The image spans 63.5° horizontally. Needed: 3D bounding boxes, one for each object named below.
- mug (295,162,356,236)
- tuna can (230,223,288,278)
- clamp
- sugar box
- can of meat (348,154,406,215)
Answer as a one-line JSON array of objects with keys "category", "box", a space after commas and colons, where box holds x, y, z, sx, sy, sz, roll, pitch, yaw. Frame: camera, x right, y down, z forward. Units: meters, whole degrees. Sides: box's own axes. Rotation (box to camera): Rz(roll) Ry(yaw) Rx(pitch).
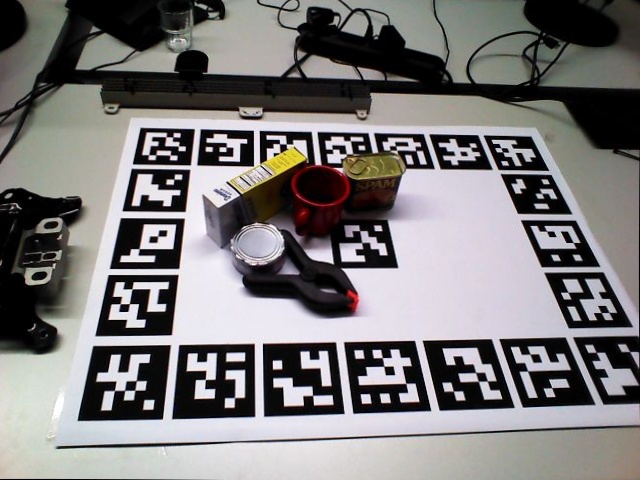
[{"category": "mug", "box": [0.001, -0.055, 0.807, 0.093, 0.082, 0.116, 20, 54, 8]}, {"category": "tuna can", "box": [-0.091, 0.018, 0.772, 0.086, 0.034, 0.085, 3, 53, -4]}, {"category": "clamp", "box": [-0.010, 0.064, 0.751, 0.165, 0.037, 0.121, 30, 50, 11]}, {"category": "sugar box", "box": [-0.093, -0.064, 0.808, 0.175, 0.093, 0.045, -33, 60, -29]}, {"category": "can of meat", "box": [0.095, -0.090, 0.855, 0.102, 0.084, 0.057, -6, 51, -13]}]
